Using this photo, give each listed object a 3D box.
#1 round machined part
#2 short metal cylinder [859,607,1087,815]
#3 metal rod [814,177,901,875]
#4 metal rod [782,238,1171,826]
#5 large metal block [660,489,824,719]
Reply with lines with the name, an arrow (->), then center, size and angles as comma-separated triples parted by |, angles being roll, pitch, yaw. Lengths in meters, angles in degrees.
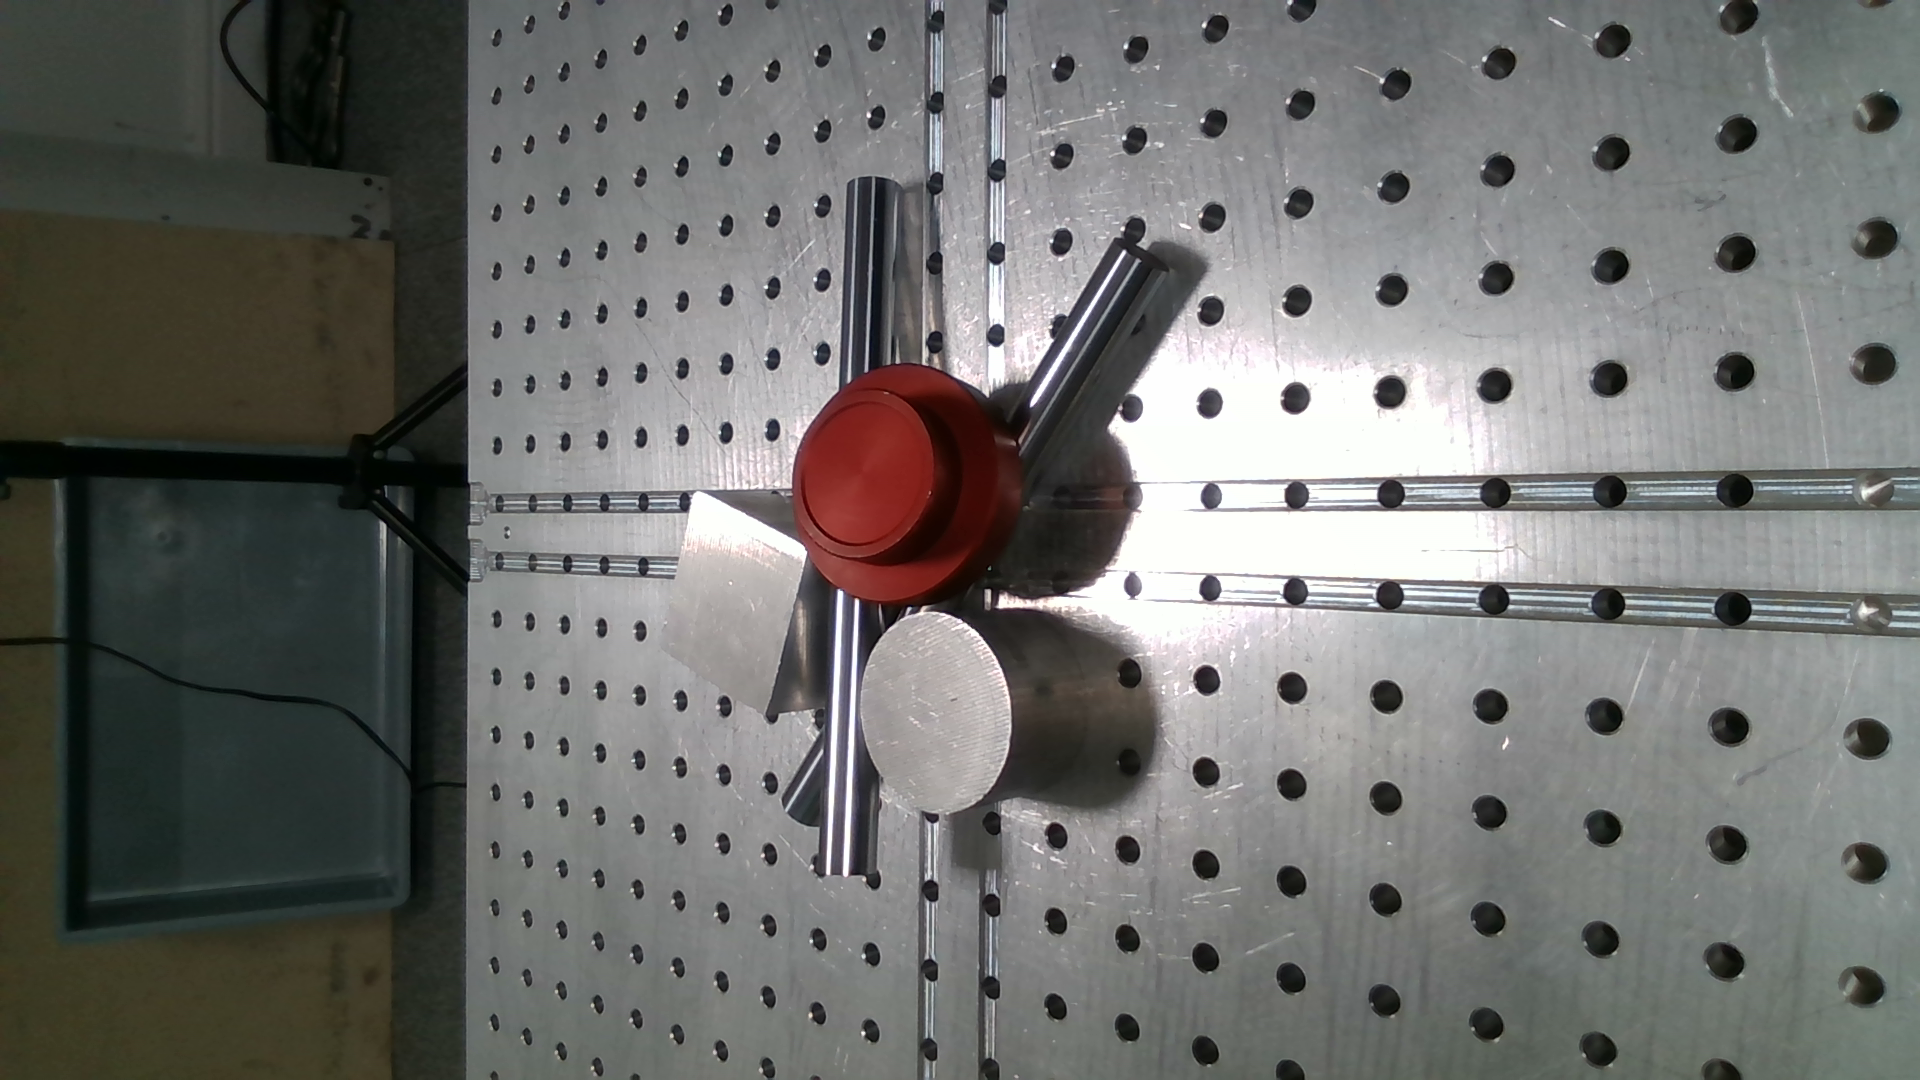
round machined part -> -0.028, -0.024, 0.553 | 0.098, 0.042, 0.098 | -4, 82, 31
short metal cylinder -> 0.005, 0.069, 0.564 | 0.080, 0.050, 0.080 | 0, 91, 40
metal rod -> -0.043, -0.009, 0.597 | 0.025, 0.025, 0.300 | -4, 81, 40
metal rod -> -0.001, 0.008, 0.587 | 0.025, 0.025, 0.301 | 46, 118, 30
large metal block -> -0.088, 0.027, 0.640 | 0.080, 0.050, 0.080 | 26, 107, 37
